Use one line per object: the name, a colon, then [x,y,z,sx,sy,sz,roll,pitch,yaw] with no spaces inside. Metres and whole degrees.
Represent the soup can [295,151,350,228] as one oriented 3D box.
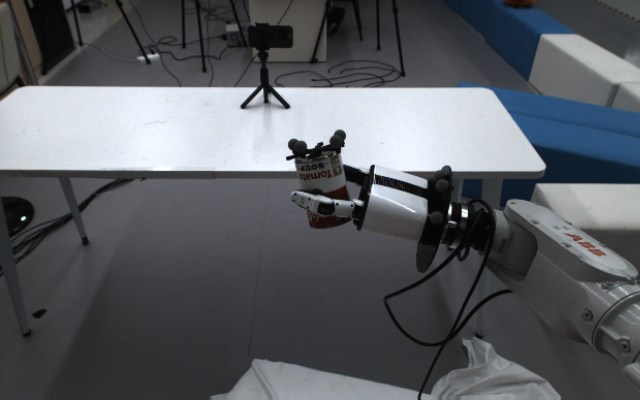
soup can: [0.008,-0.018,0.696,0.067,0.101,0.067,-12,17,4]
